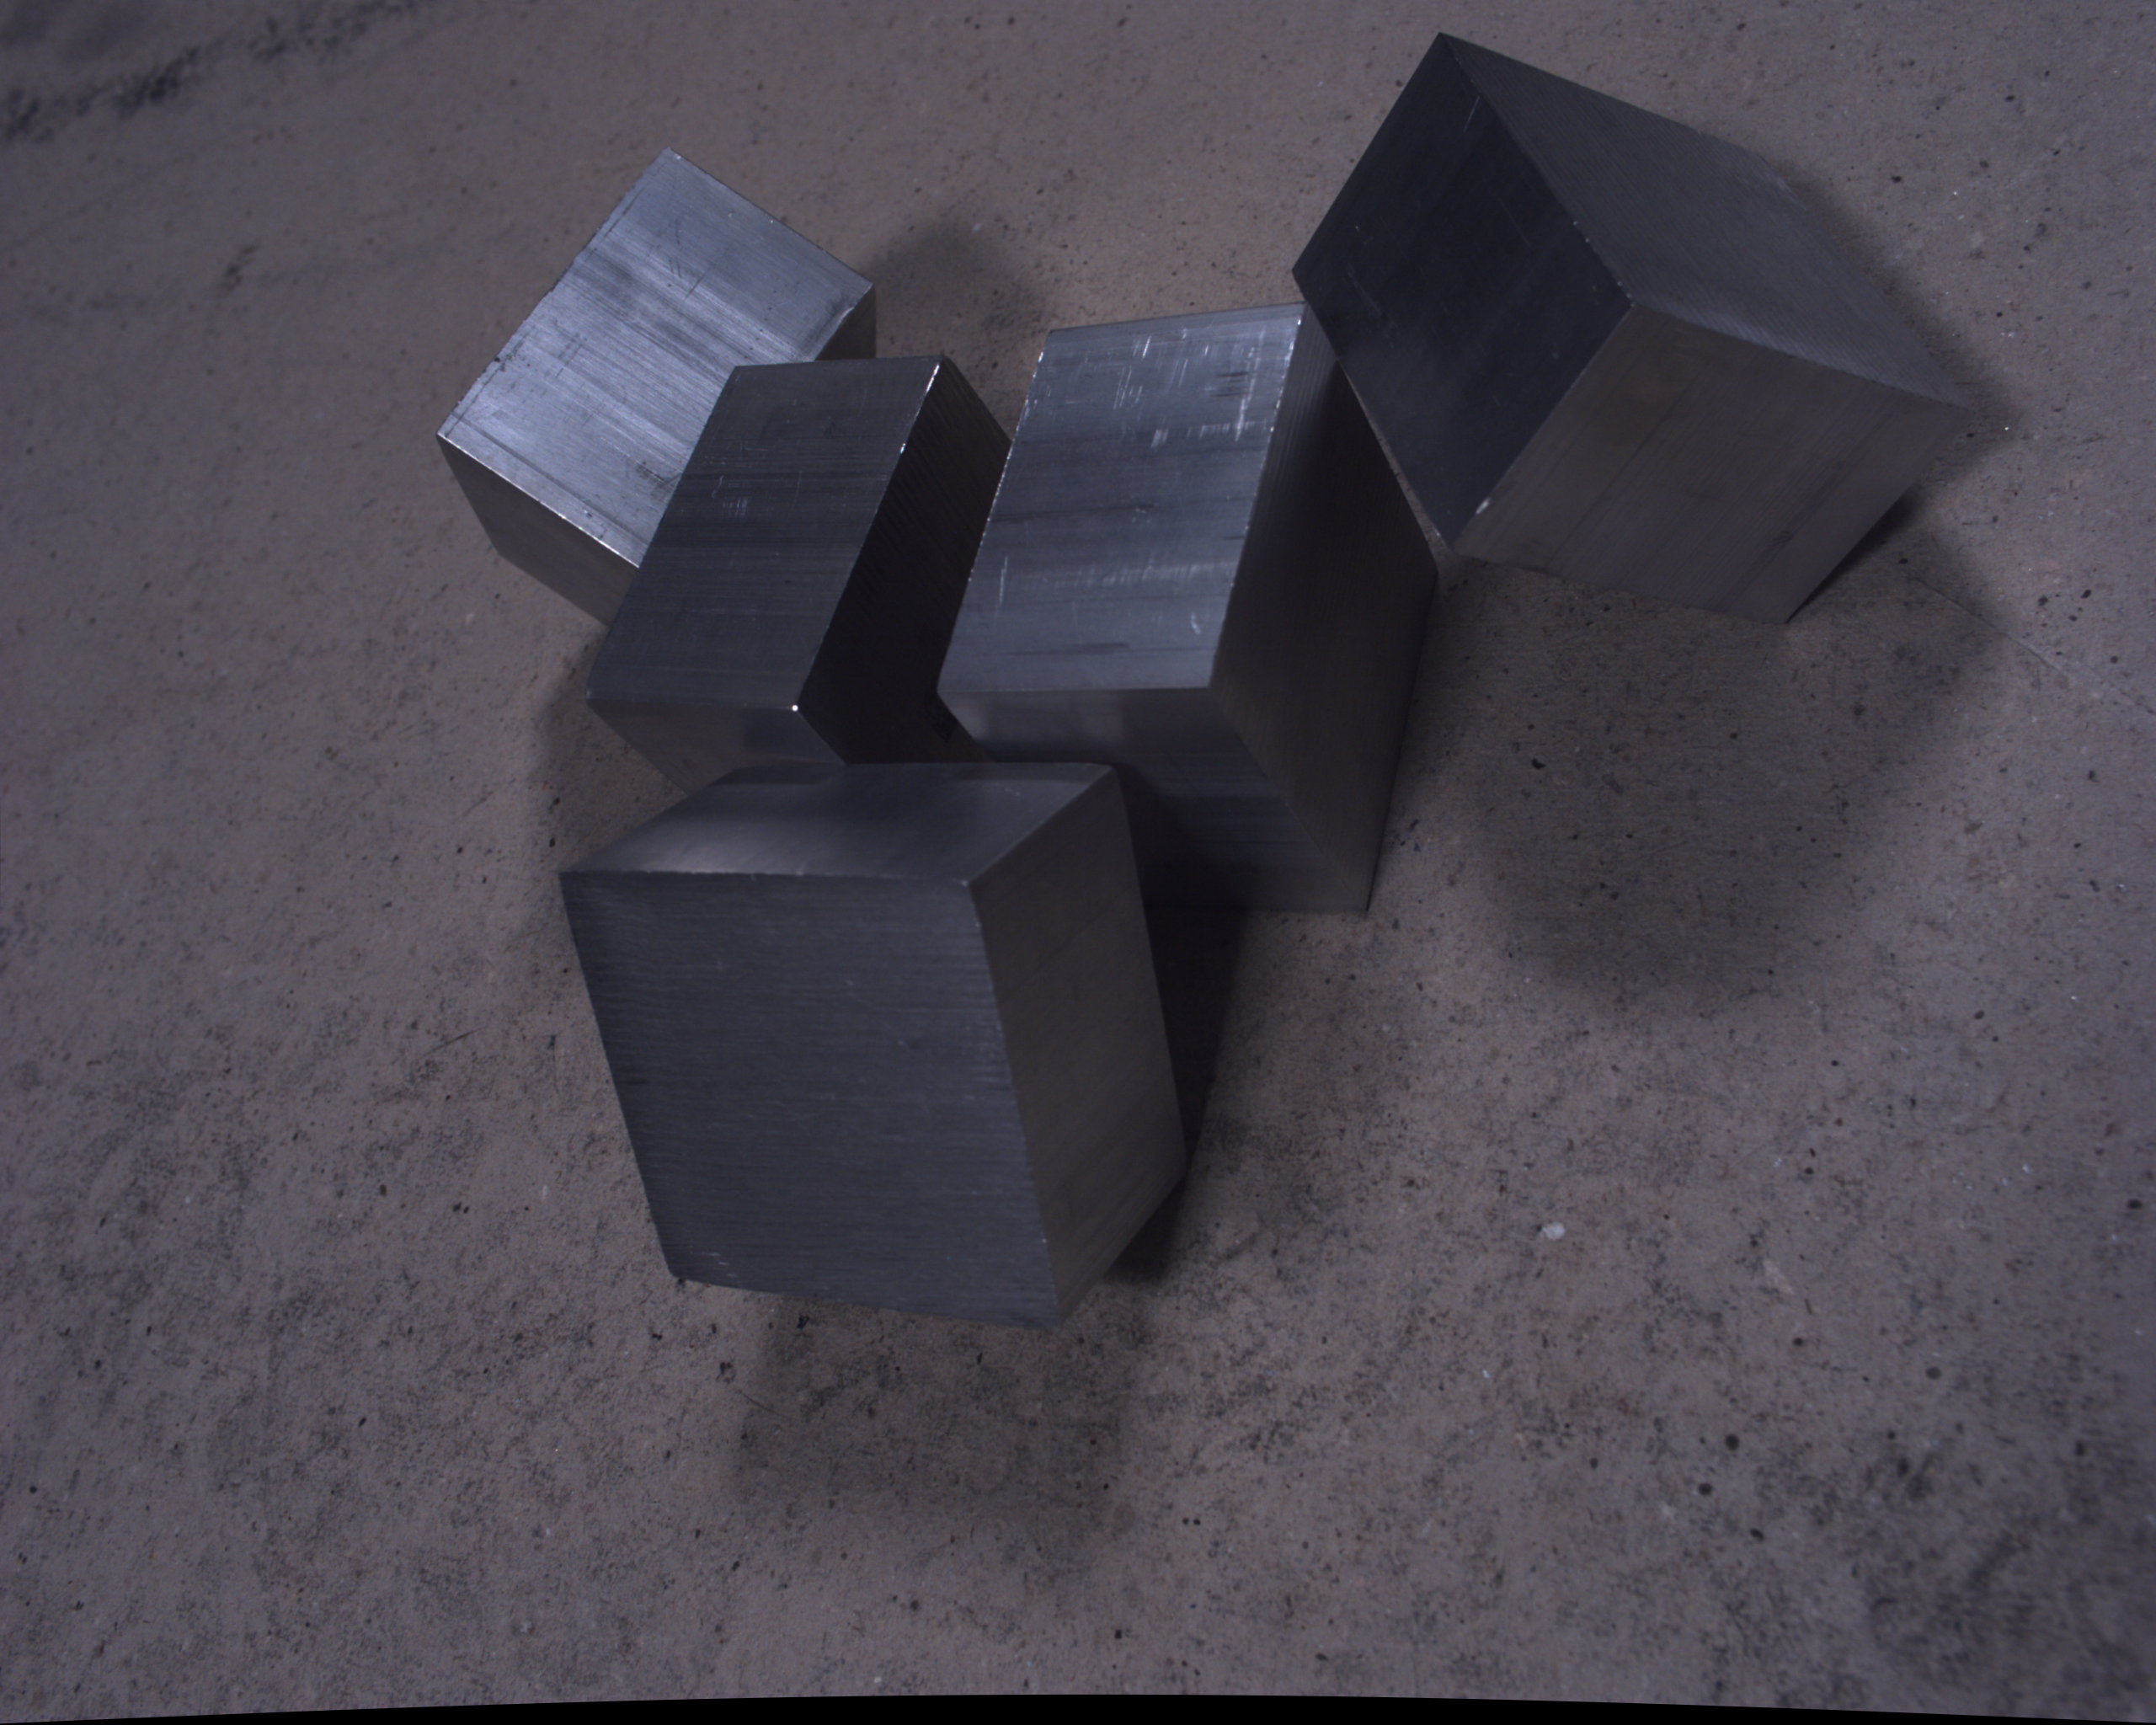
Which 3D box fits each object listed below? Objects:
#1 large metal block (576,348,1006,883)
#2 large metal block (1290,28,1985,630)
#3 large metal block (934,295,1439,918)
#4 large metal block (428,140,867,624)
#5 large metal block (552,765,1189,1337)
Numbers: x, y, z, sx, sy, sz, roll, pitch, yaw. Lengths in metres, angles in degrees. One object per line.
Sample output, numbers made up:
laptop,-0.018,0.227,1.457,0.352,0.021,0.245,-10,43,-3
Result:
large metal block,-0.042,-0.044,0.418,0.050,0.080,0.080,5,64,30
large metal block,0.096,-0.092,0.368,0.050,0.081,0.080,-56,40,38
large metal block,0.024,-0.044,0.383,0.050,0.080,0.080,1,62,28
large metal block,-0.091,-0.097,0.464,0.050,0.080,0.080,34,78,1
large metal block,-0.034,0.029,0.360,0.080,0.079,0.050,1,23,28
